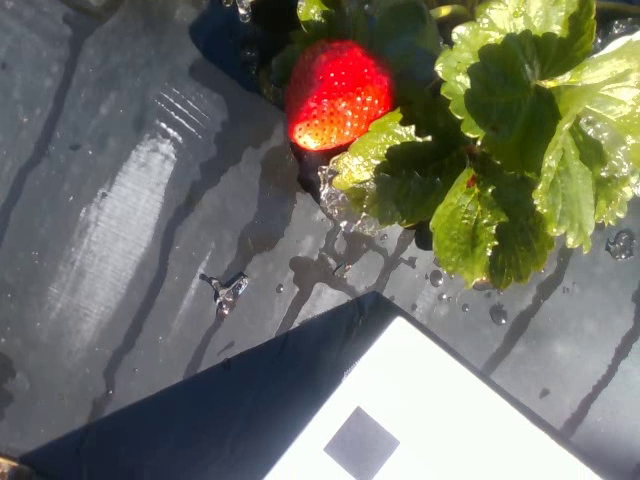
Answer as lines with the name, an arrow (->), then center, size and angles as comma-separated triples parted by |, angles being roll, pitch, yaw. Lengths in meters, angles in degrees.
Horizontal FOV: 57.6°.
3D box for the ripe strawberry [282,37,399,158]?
ripe strawberry -> 0.003, -0.045, 0.192 | 0.041, 0.047, 0.053 | 33, 41, 8
